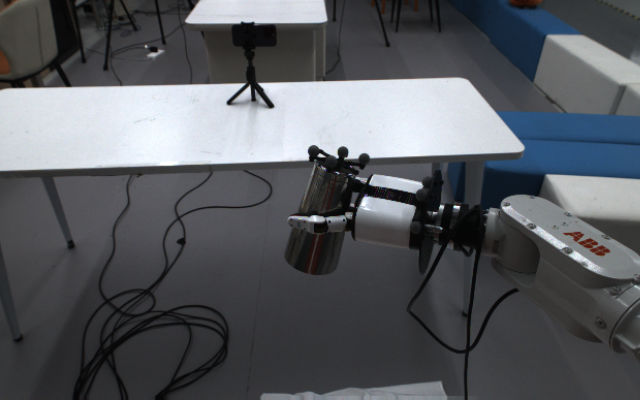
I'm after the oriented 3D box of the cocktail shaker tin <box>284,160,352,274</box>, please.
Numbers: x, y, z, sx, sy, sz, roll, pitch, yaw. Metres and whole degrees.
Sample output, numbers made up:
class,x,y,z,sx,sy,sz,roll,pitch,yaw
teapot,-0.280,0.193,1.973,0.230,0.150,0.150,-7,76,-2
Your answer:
class,x,y,z,sx,sy,sz,roll,pitch,yaw
cocktail shaker tin,0.006,0.021,0.771,0.093,0.170,0.093,12,24,-5
